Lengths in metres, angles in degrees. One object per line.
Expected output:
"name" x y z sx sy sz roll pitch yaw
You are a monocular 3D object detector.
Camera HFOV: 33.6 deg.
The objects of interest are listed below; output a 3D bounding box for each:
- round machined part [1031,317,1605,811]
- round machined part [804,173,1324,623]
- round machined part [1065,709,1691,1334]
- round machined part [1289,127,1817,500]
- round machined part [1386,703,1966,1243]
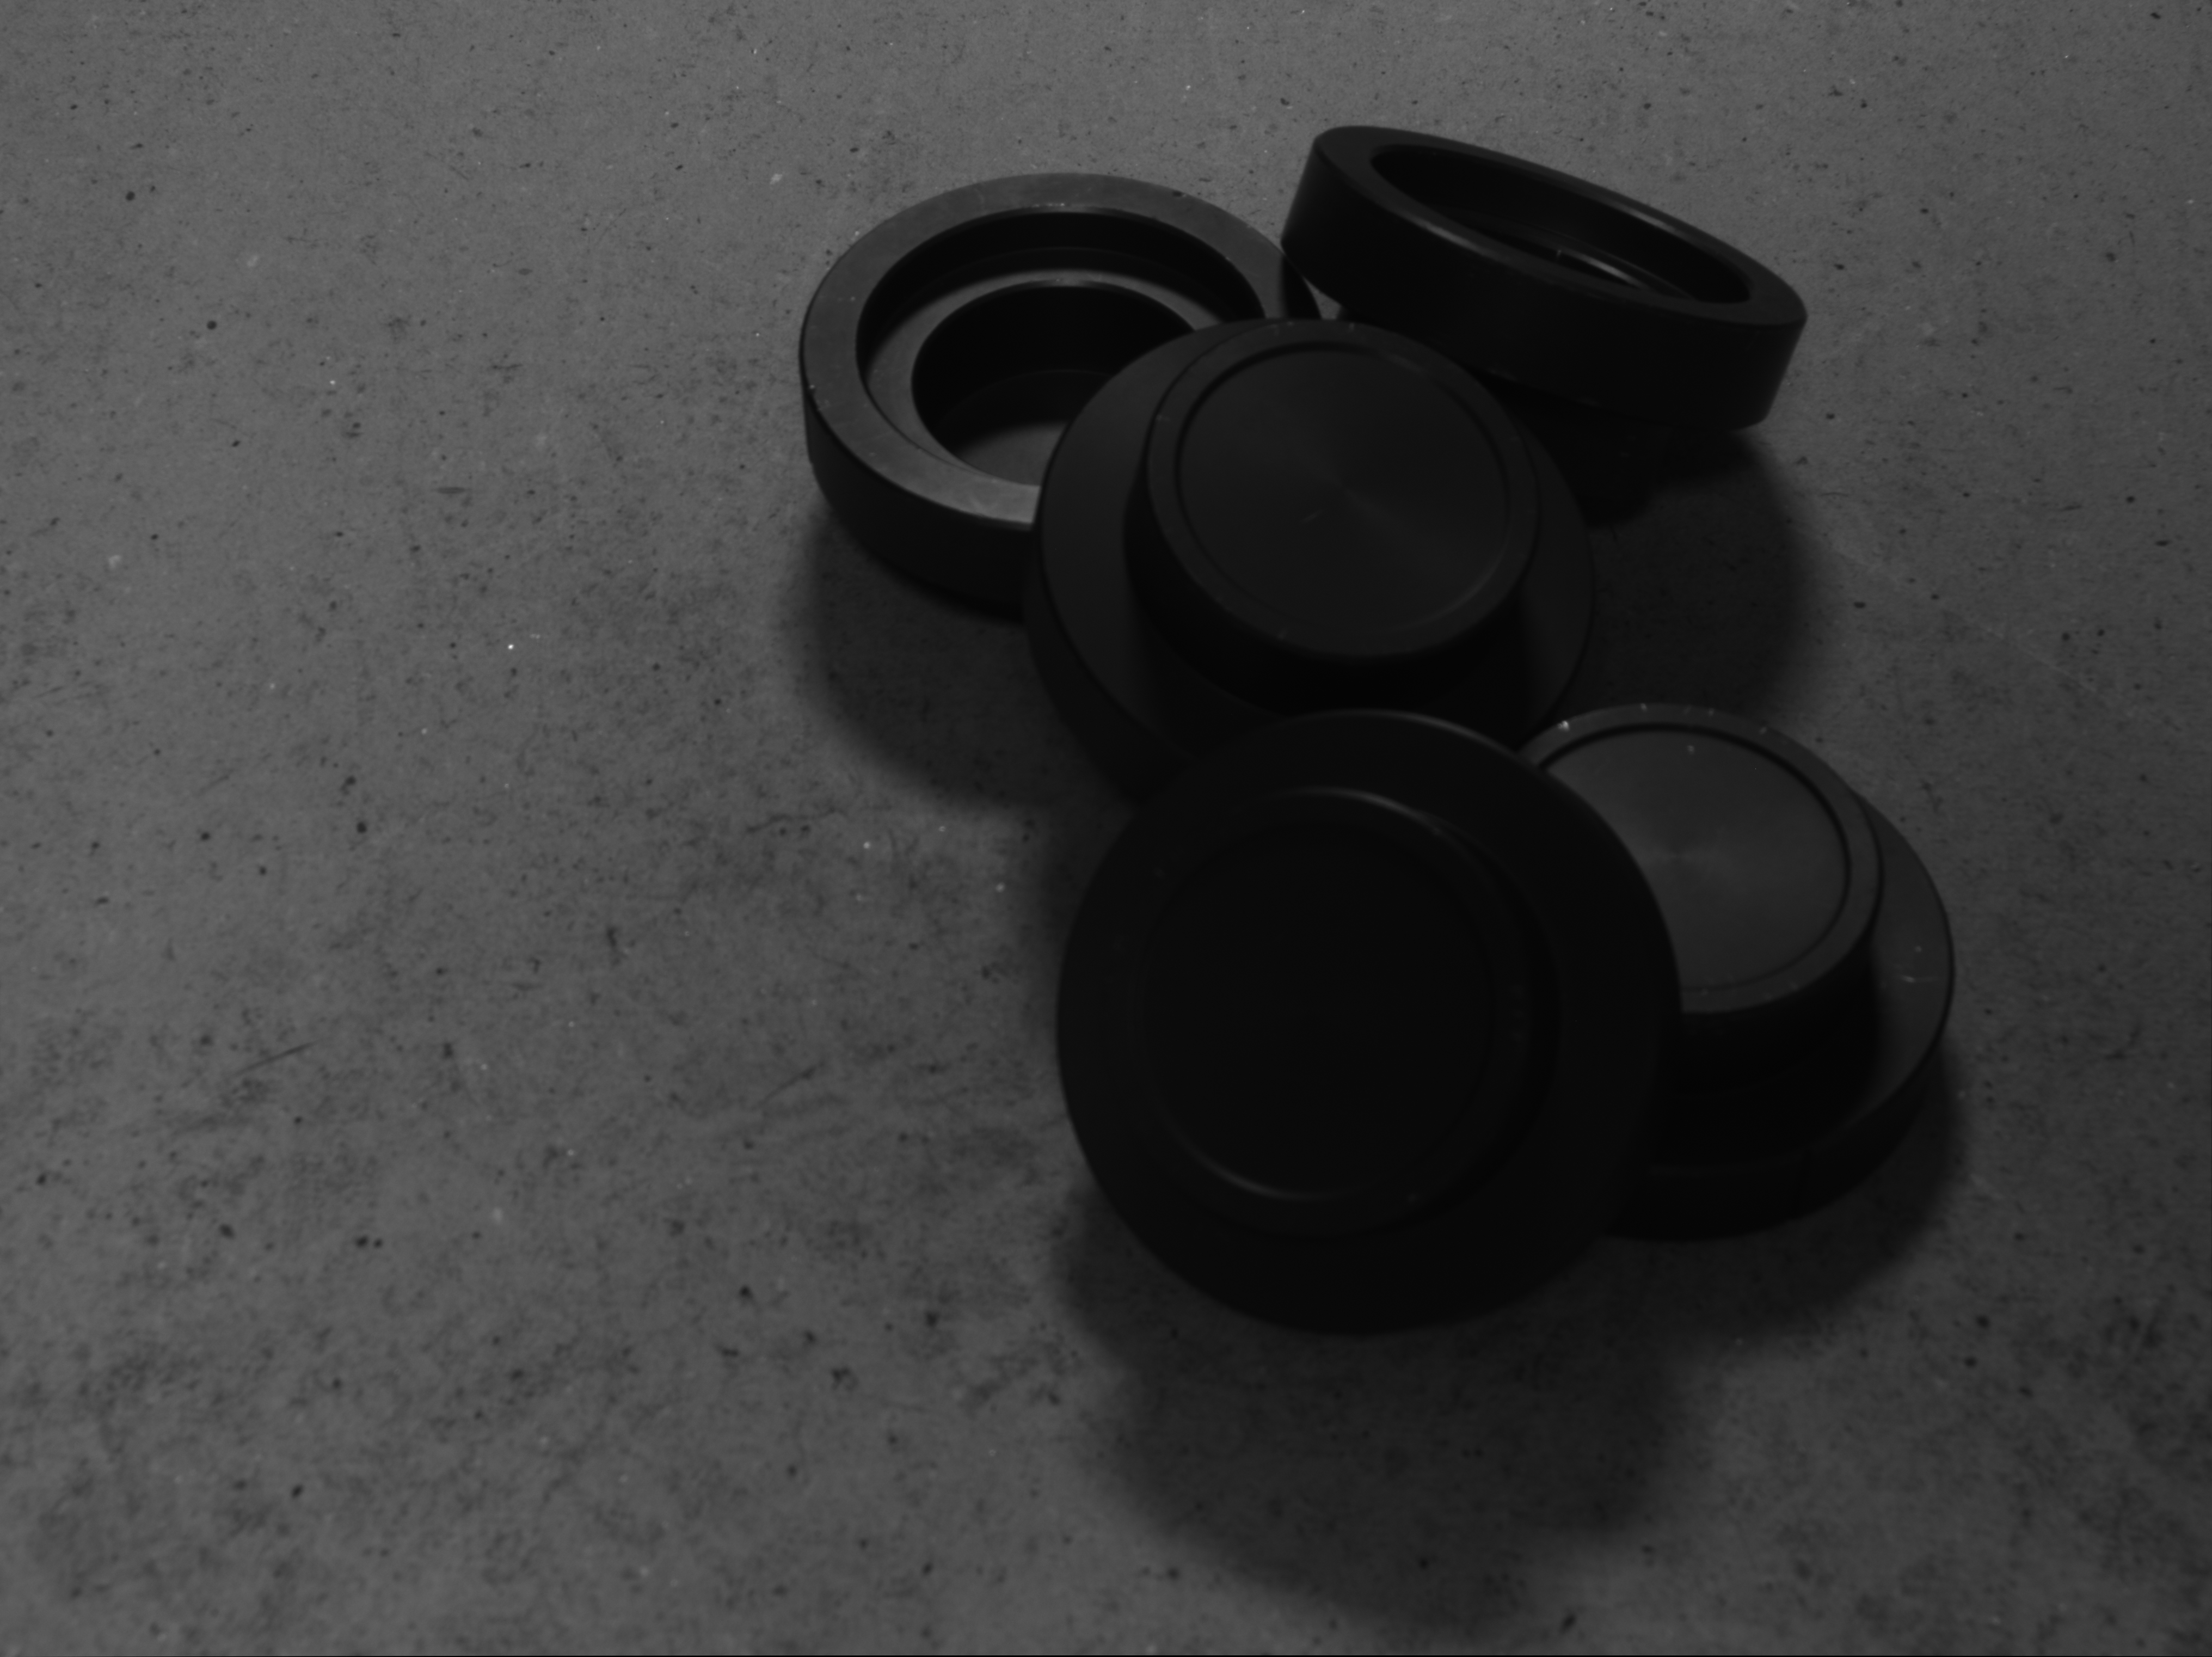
"round machined part" 0.038 -0.048 0.629 0.098 0.042 0.098 4 60 -7
"round machined part" -0.007 -0.077 0.696 0.098 0.042 0.098 0 50 0
"round machined part" 0.039 0.030 0.573 0.098 0.042 0.098 -2 83 20
"round machined part" 0.081 -0.095 0.694 0.098 0.042 0.098 16 23 -7
"round machined part" 0.095 0.018 0.616 0.098 0.042 0.098 0 50 0
